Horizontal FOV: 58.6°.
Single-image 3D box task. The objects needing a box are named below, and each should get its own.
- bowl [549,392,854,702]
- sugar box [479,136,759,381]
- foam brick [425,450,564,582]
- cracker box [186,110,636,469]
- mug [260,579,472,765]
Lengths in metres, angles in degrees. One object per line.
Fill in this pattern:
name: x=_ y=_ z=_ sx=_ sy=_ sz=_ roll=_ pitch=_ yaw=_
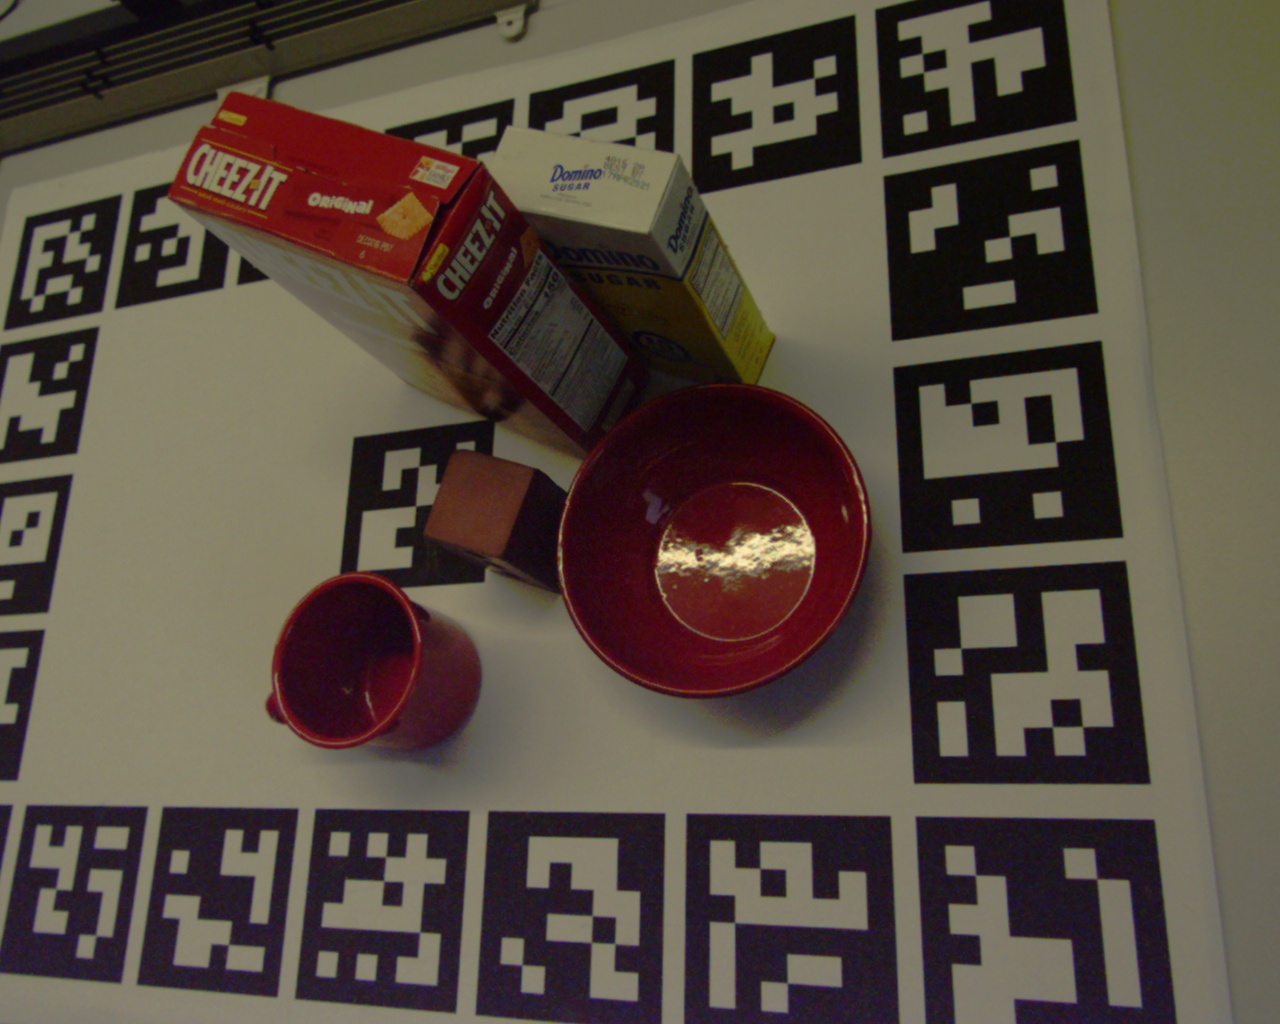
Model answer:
bowl: x=0.036 y=0.021 z=0.599 sx=0.163 sy=0.054 sz=0.162 roll=-7 pitch=72 yaw=21
sugar box: x=-0.006 y=-0.129 z=0.607 sx=0.094 sy=0.174 sz=0.045 roll=17 pitch=80 yaw=26
foam brick: x=-0.078 y=0.004 z=0.656 sx=0.053 sy=0.077 sz=0.051 roll=10 pitch=77 yaw=25
cracker box: x=-0.116 y=-0.111 z=0.628 sx=0.166 sy=0.211 sz=0.072 roll=26 pitch=82 yaw=26
mug: x=-0.159 y=0.098 z=0.649 sx=0.118 sy=0.080 sz=0.093 roll=-15 pitch=60 yaw=19
